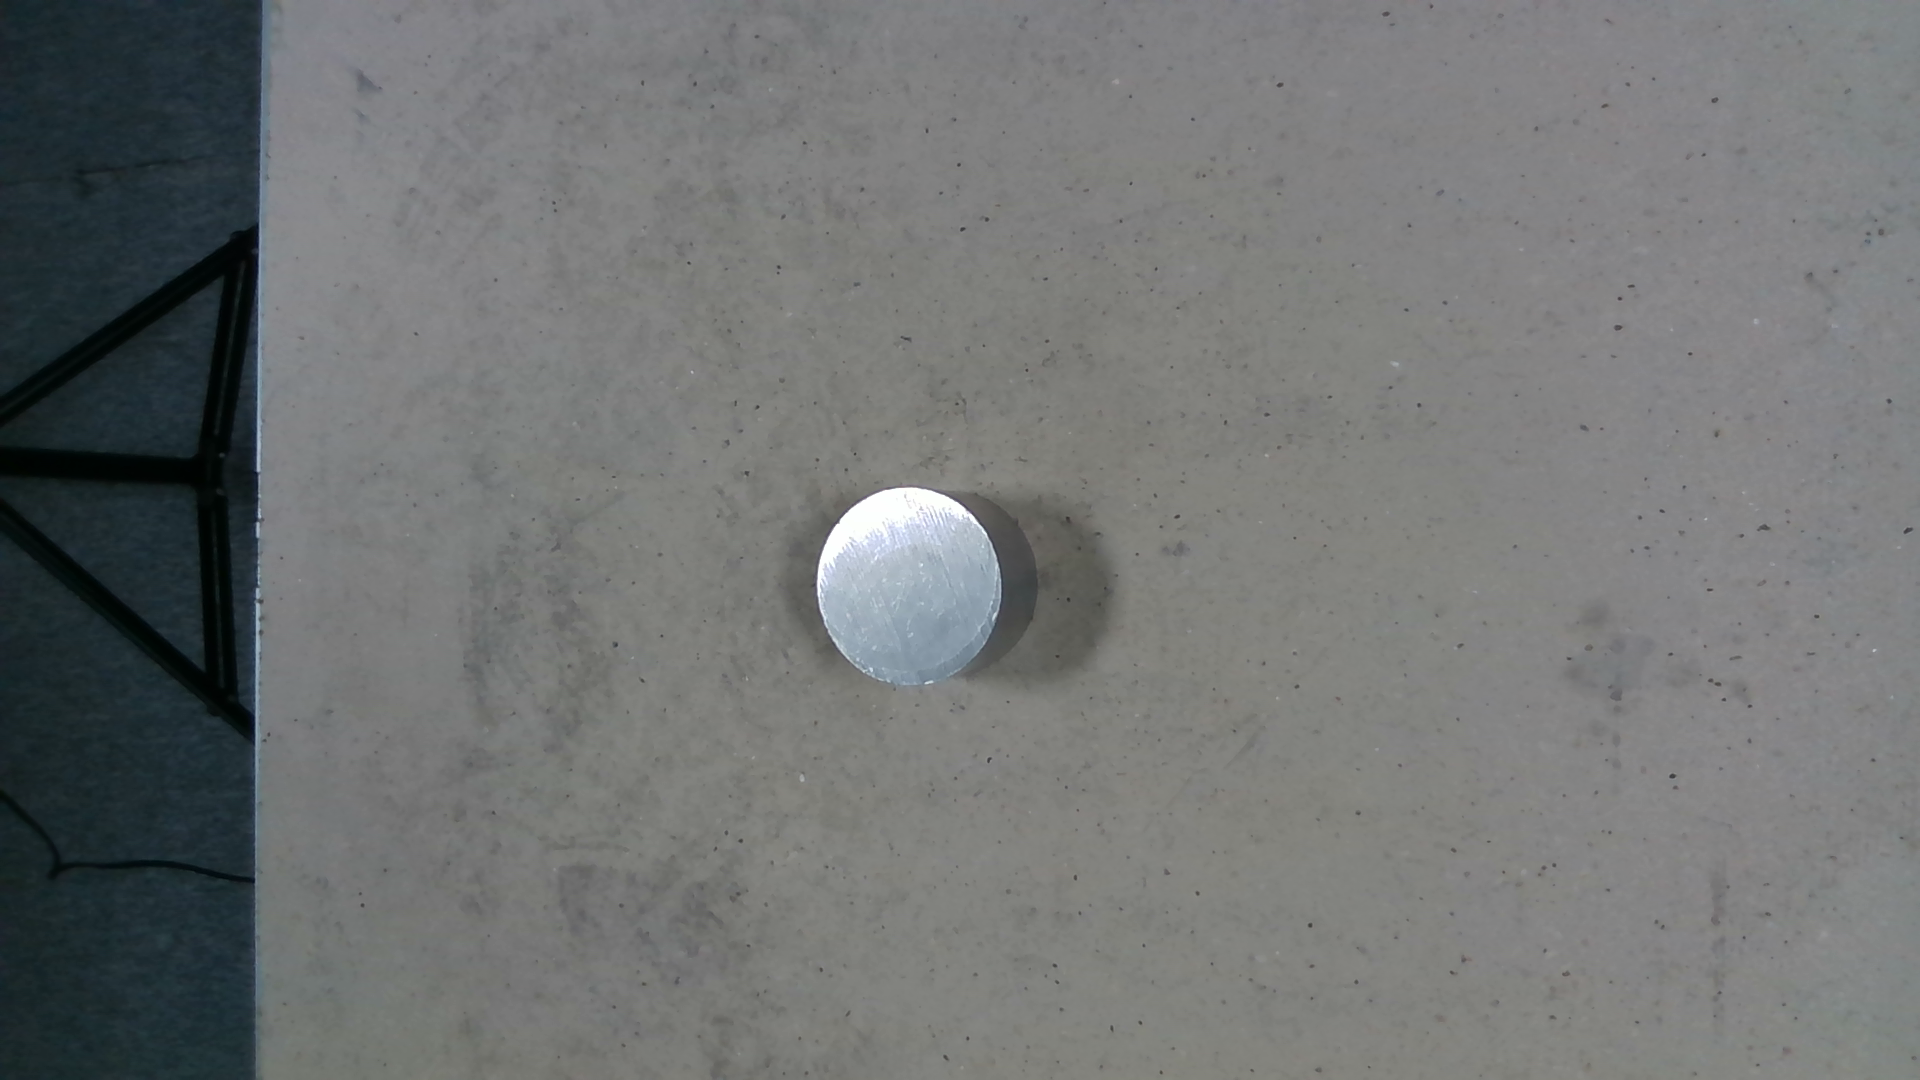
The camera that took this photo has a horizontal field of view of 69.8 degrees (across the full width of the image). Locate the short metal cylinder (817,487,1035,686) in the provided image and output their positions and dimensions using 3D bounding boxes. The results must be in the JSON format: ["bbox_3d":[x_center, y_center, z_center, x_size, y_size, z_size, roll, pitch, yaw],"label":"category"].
[{"bbox_3d":[-0.013,0.019,0.577,0.080,0.050,0.080,0,90,20],"label":"short metal cylinder"}]
